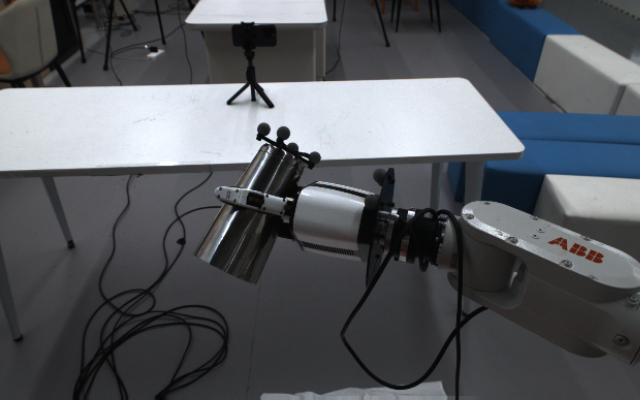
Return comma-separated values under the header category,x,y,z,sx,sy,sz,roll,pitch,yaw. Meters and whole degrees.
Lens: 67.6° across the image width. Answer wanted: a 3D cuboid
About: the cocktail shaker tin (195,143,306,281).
category,x,y,z,sx,sy,sz,roll,pitch,yaw
cocktail shaker tin,-0.085,0.013,0.644,0.093,0.093,0.170,21,81,25
